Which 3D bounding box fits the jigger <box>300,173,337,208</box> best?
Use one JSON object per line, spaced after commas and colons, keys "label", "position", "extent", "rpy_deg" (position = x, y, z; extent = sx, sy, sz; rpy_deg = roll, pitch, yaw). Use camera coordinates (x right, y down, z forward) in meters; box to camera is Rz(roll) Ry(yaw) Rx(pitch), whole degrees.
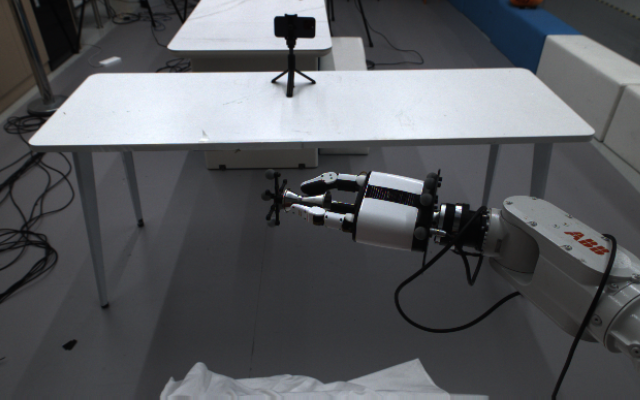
{"label": "jigger", "position": [-0.014, 0.001, 0.761], "extent": [0.071, 0.043, 0.043], "rpy_deg": [6, 34, 17]}
